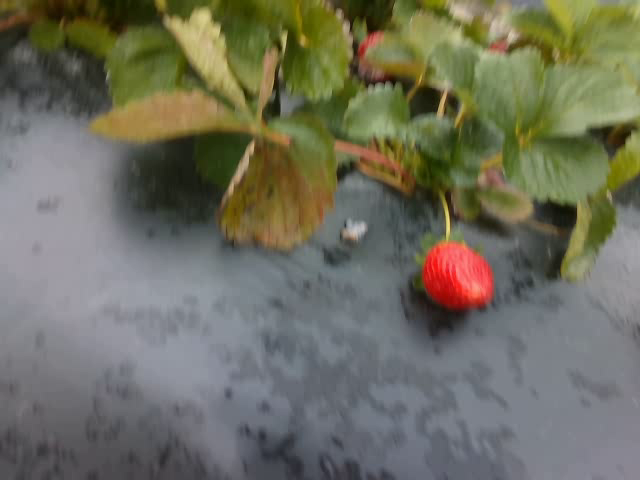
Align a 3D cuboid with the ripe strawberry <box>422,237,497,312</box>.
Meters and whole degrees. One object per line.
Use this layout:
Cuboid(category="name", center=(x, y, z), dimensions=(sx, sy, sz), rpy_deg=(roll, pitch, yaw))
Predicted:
Cuboid(category="ripe strawberry", center=(0.079, 0.021, 0.368), dimensions=(0.045, 0.048, 0.054), rpy_deg=(-4, 19, 7))
